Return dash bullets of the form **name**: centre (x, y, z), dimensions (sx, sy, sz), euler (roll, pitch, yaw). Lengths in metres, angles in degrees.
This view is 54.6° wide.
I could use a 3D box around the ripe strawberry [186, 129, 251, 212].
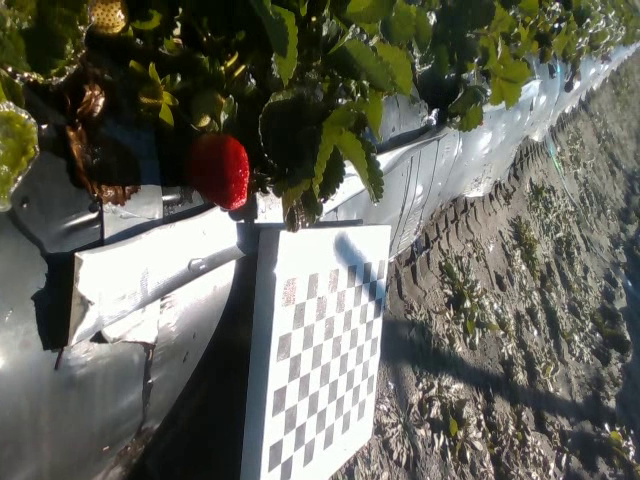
- **ripe strawberry**: centre (-0.068, -0.043, 0.457), dimensions (0.057, 0.065, 0.061), euler (-30, -34, -1)
